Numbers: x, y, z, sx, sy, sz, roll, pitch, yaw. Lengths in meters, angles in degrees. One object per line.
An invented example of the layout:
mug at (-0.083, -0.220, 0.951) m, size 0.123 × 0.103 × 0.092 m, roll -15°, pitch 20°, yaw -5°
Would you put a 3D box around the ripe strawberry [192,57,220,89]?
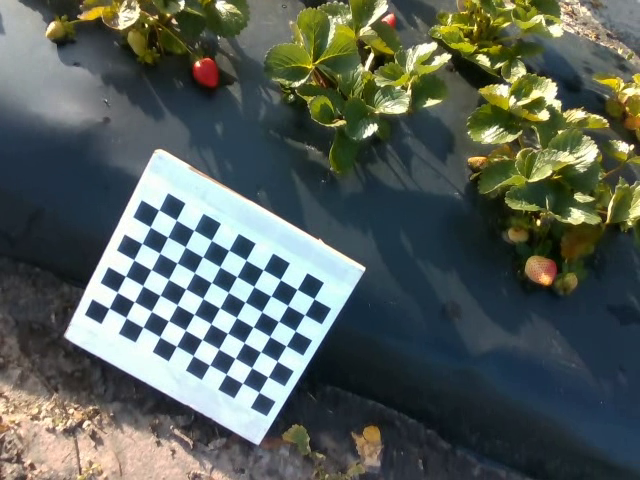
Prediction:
ripe strawberry at (-0.127, -0.189, 0.732) m, size 0.030 × 0.045 × 0.033 m, roll -30°, pitch -22°, yaw 11°
